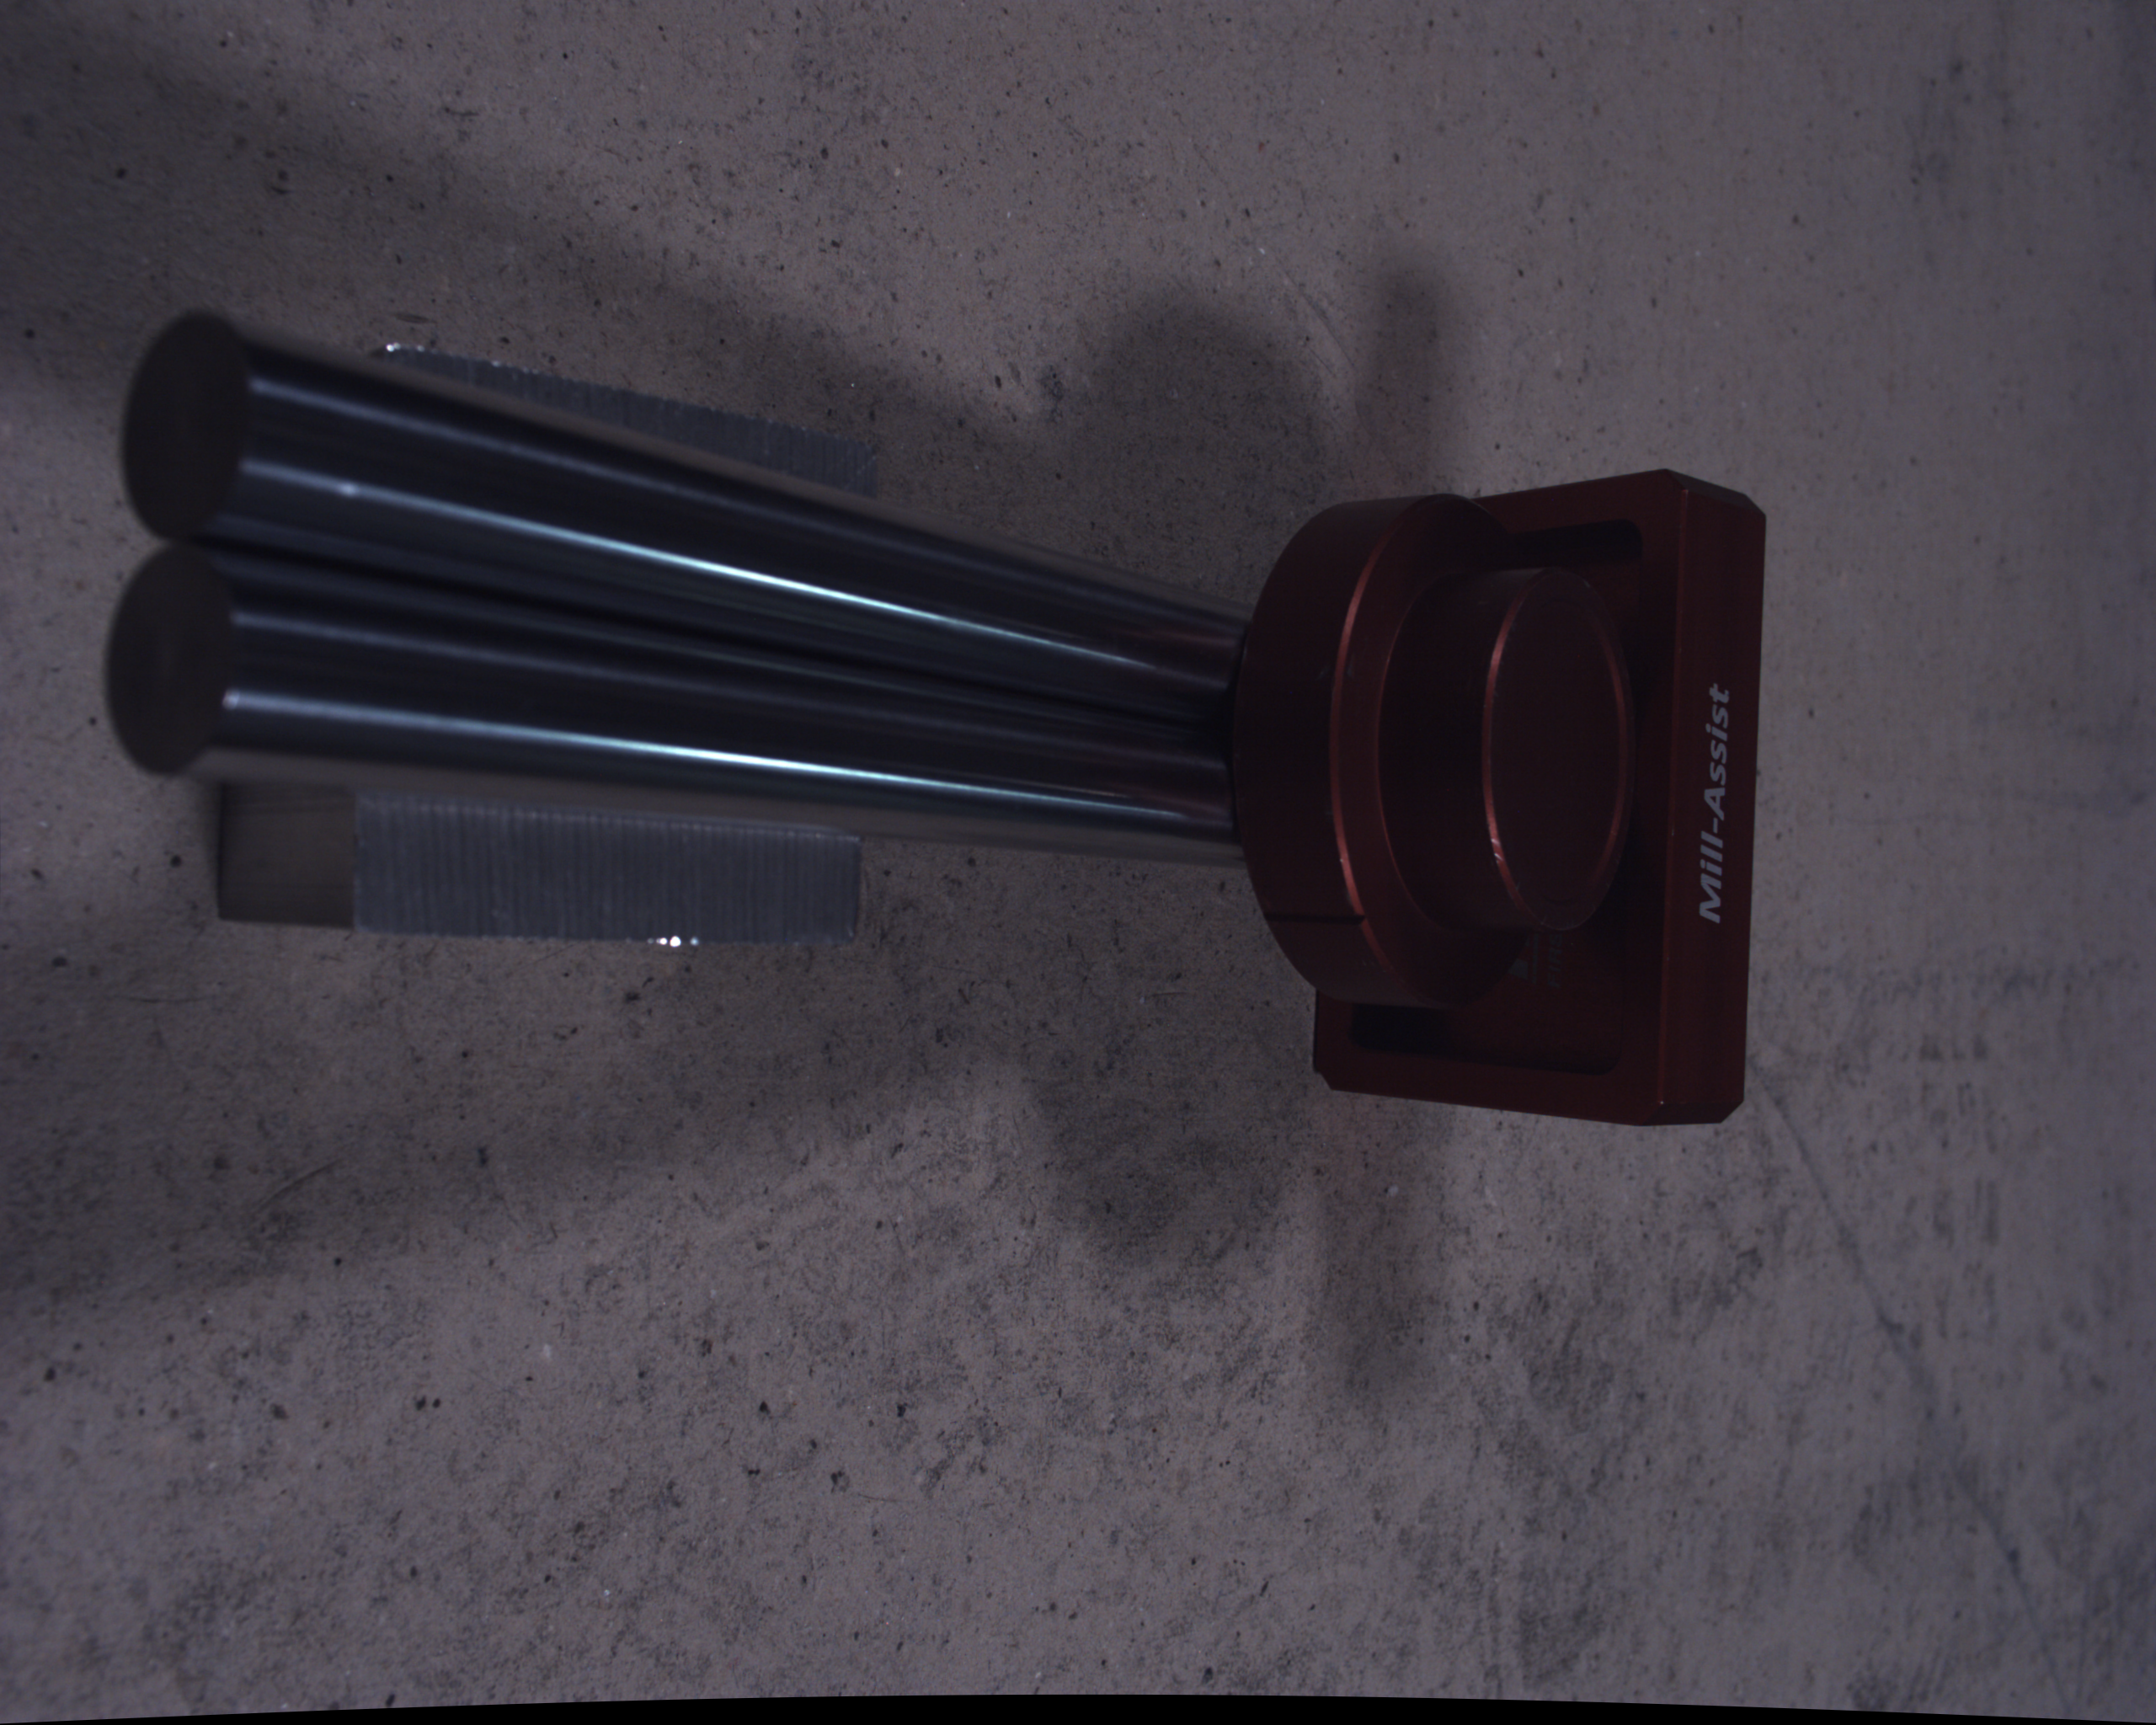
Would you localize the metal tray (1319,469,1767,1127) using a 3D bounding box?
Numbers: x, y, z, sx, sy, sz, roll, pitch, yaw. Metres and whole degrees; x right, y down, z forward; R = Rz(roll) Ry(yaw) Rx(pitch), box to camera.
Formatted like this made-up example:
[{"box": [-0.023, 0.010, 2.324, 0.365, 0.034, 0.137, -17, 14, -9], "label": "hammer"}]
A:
[{"box": [0.097, -0.012, 0.447, 0.030, 0.090, 0.129, 5, 87, -40], "label": "metal tray"}]

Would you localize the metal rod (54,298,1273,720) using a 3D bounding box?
[{"box": [-0.011, -0.041, 0.340, 0.302, 0.025, 0.025, 4, 88, -53], "label": "metal rod"}]

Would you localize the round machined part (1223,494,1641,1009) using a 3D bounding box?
[{"box": [0.073, -0.021, 0.395, 0.099, 0.042, 0.097, -4, 96, -51], "label": "round machined part"}]

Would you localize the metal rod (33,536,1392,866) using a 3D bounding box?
[{"box": [-0.012, -0.015, 0.339, 0.302, 0.025, 0.025, 5, 87, -53], "label": "metal rod"}]

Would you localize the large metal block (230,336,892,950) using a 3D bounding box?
[{"box": [-0.078, -0.028, 0.321, 0.081, 0.050, 0.080, 4, 87, -40], "label": "large metal block"}]
